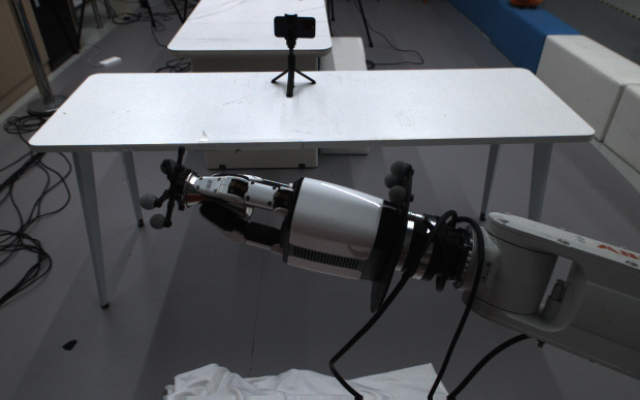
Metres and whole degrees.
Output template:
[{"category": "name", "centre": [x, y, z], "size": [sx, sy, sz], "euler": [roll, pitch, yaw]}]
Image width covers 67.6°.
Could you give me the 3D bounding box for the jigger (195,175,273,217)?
[{"category": "jigger", "centre": [-0.098, -0.009, 0.516], "size": [0.071, 0.043, 0.043], "euler": [10, 35, 3]}]
